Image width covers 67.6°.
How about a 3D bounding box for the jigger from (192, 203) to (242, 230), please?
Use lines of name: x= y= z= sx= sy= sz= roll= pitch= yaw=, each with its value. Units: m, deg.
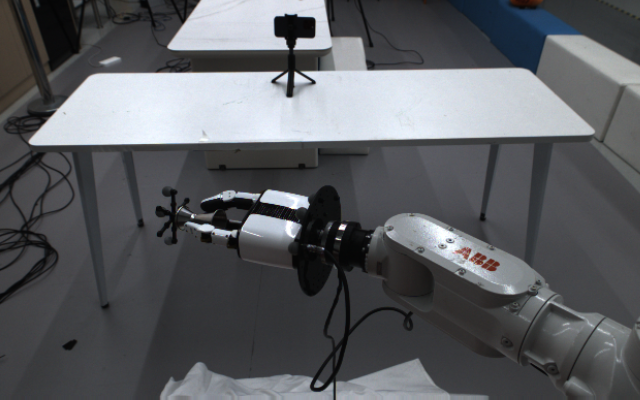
jigger: x=-0.180 y=0.029 z=0.755 sx=0.071 sy=0.043 sz=0.043 roll=6 pitch=34 yaw=20
